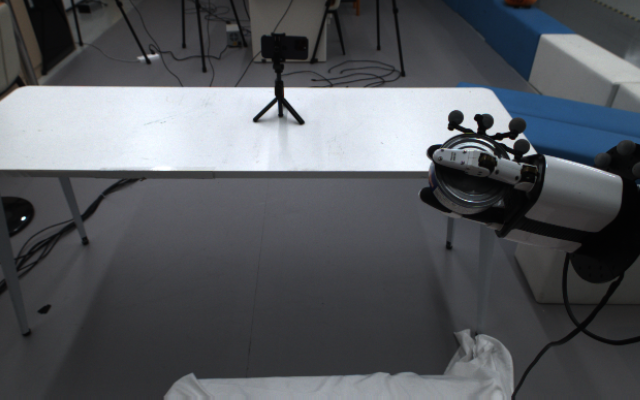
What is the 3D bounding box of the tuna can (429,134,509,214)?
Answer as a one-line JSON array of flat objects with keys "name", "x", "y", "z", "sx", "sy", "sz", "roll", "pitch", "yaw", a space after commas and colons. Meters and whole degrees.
[{"name": "tuna can", "x": 0.168, "y": -0.031, "z": 0.538, "sx": 0.085, "sy": 0.034, "sz": 0.085, "roll": 0, "pitch": 72, "yaw": 0}]
